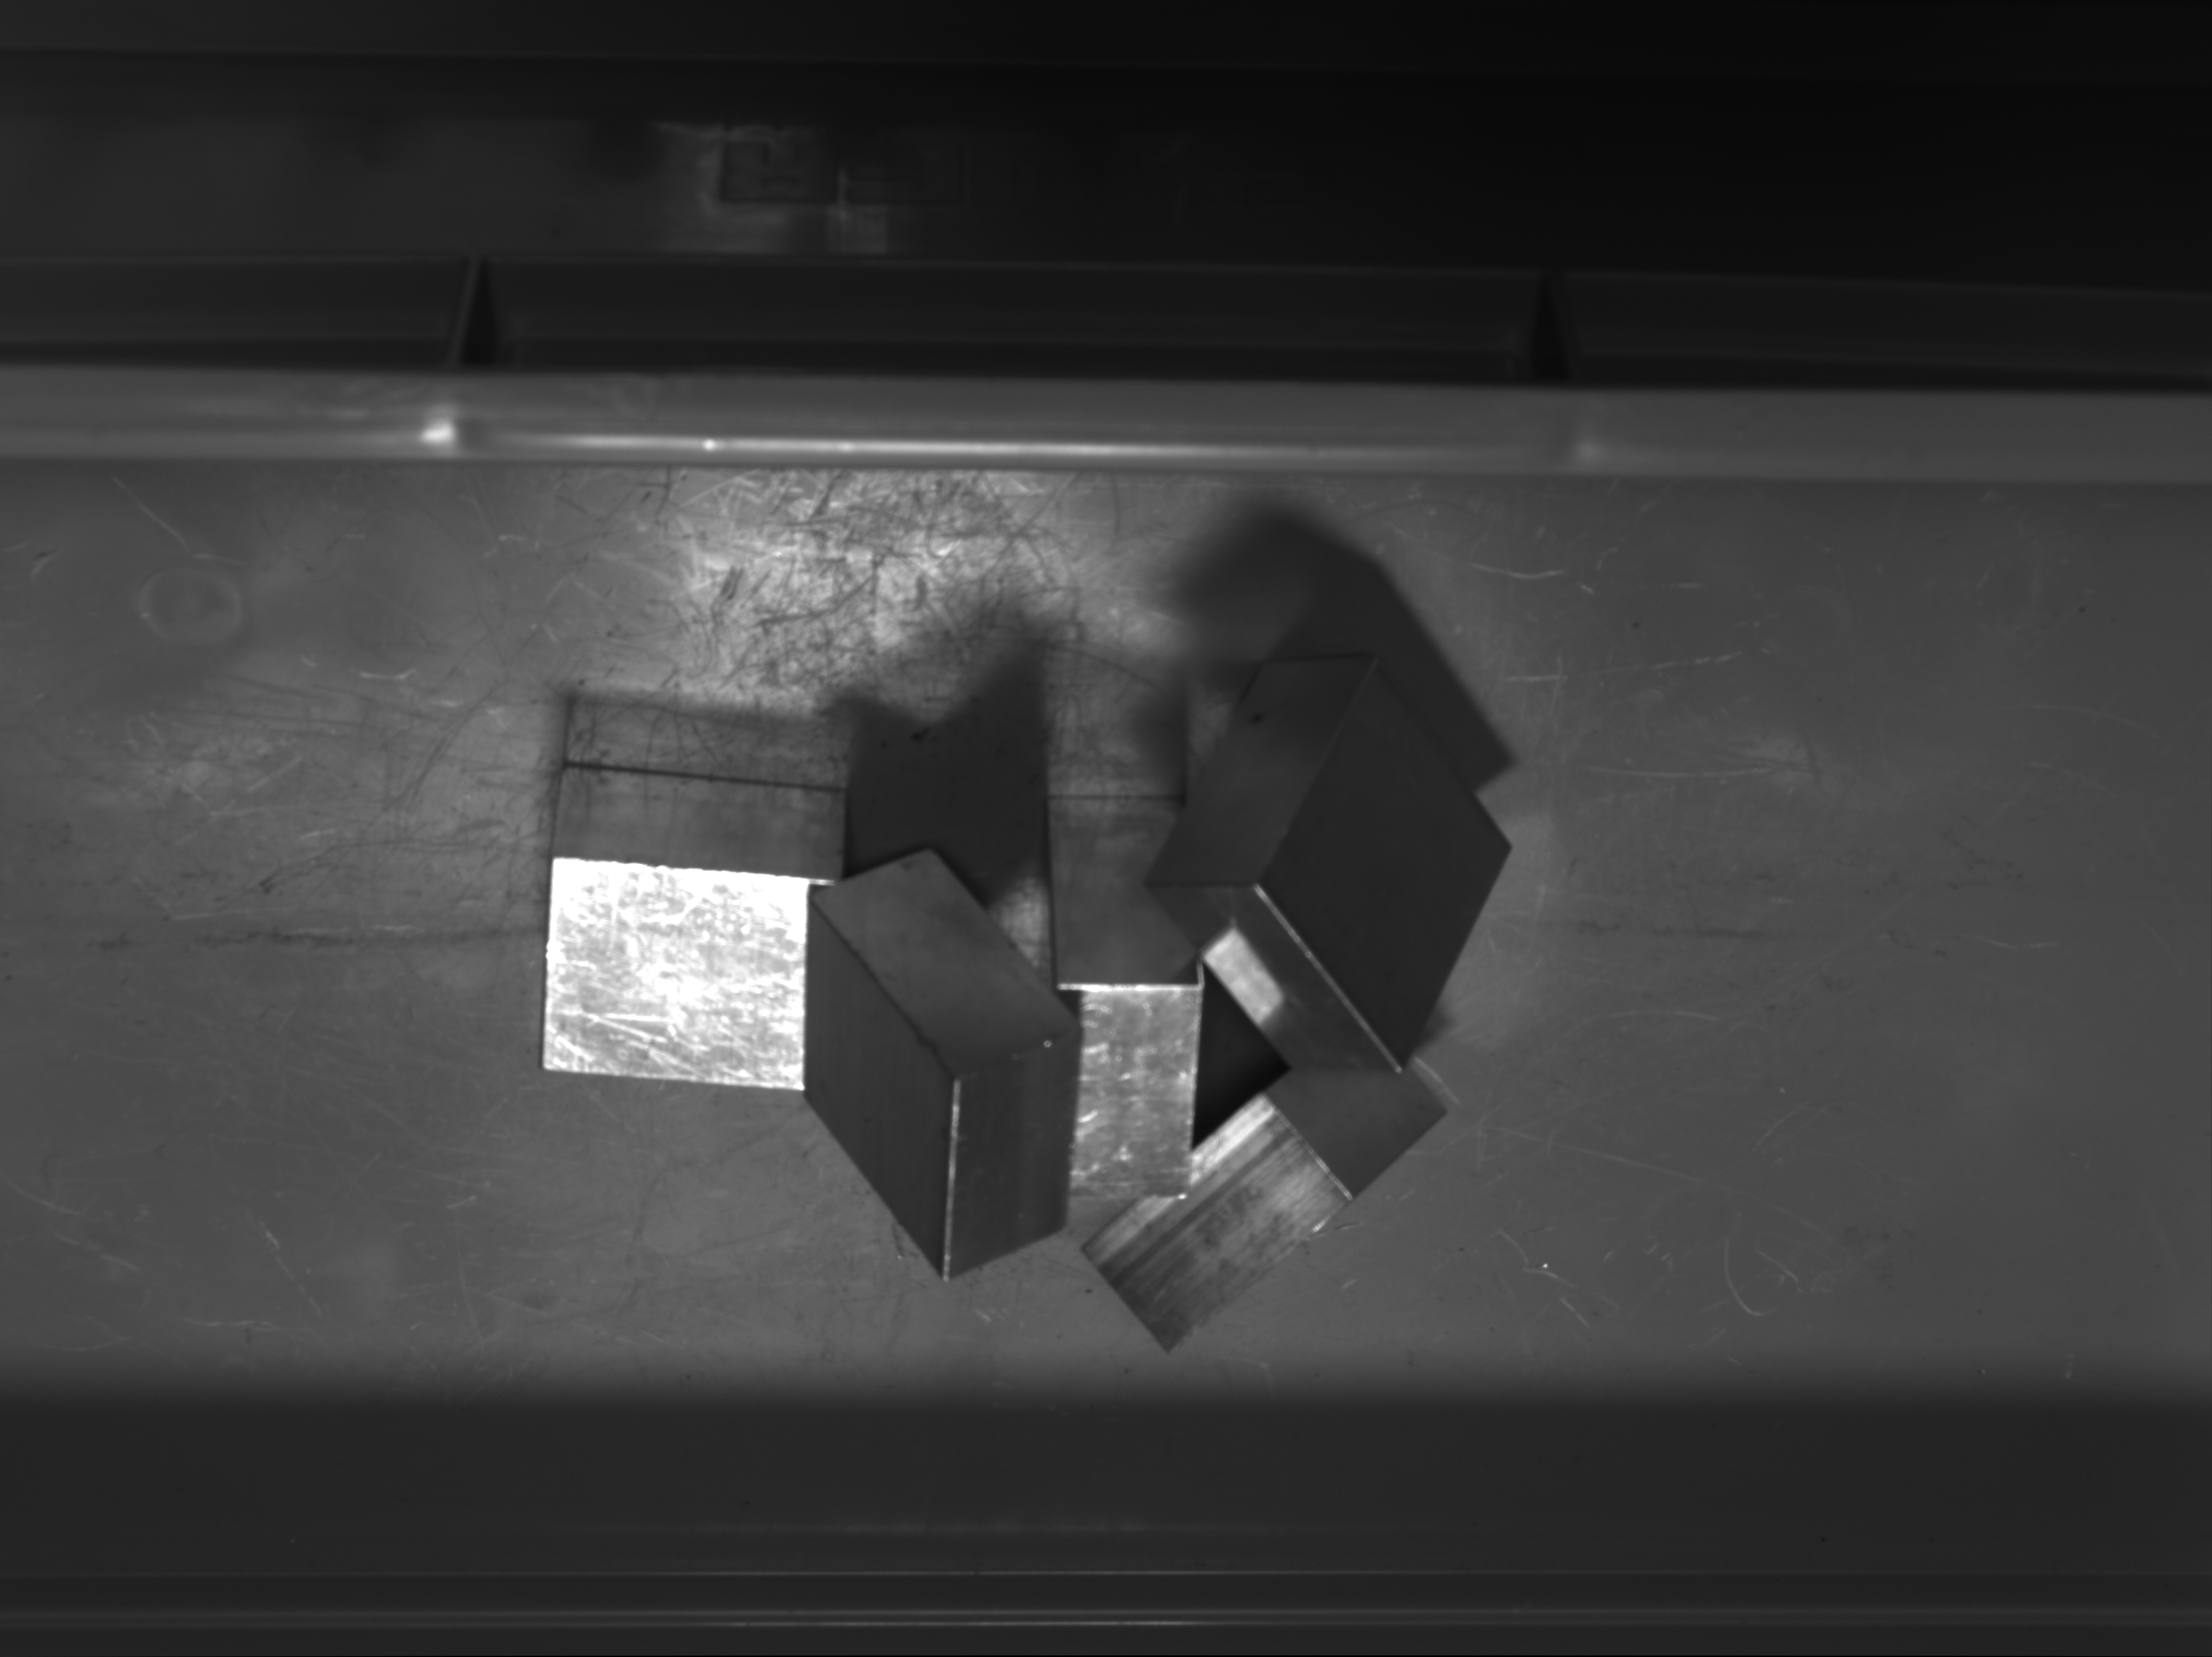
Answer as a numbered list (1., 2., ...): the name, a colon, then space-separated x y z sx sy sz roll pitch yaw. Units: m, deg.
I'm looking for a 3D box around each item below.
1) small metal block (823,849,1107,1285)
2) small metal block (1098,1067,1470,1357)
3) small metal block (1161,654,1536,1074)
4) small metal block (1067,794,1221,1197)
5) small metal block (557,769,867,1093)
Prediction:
1. small metal block: -0.025 0.041 0.630 0.025 0.050 0.050 -21 139 -26
2. small metal block: 0.033 0.065 0.672 0.025 0.050 0.050 49 118 6
3. small metal block: 0.042 0.006 0.624 0.025 0.050 0.050 0 140 43
4. small metal block: 0.005 0.029 0.646 0.025 0.050 0.050 1 130 -2
5. small metal block: -0.070 0.019 0.649 0.050 0.025 0.050 5 130 -6
